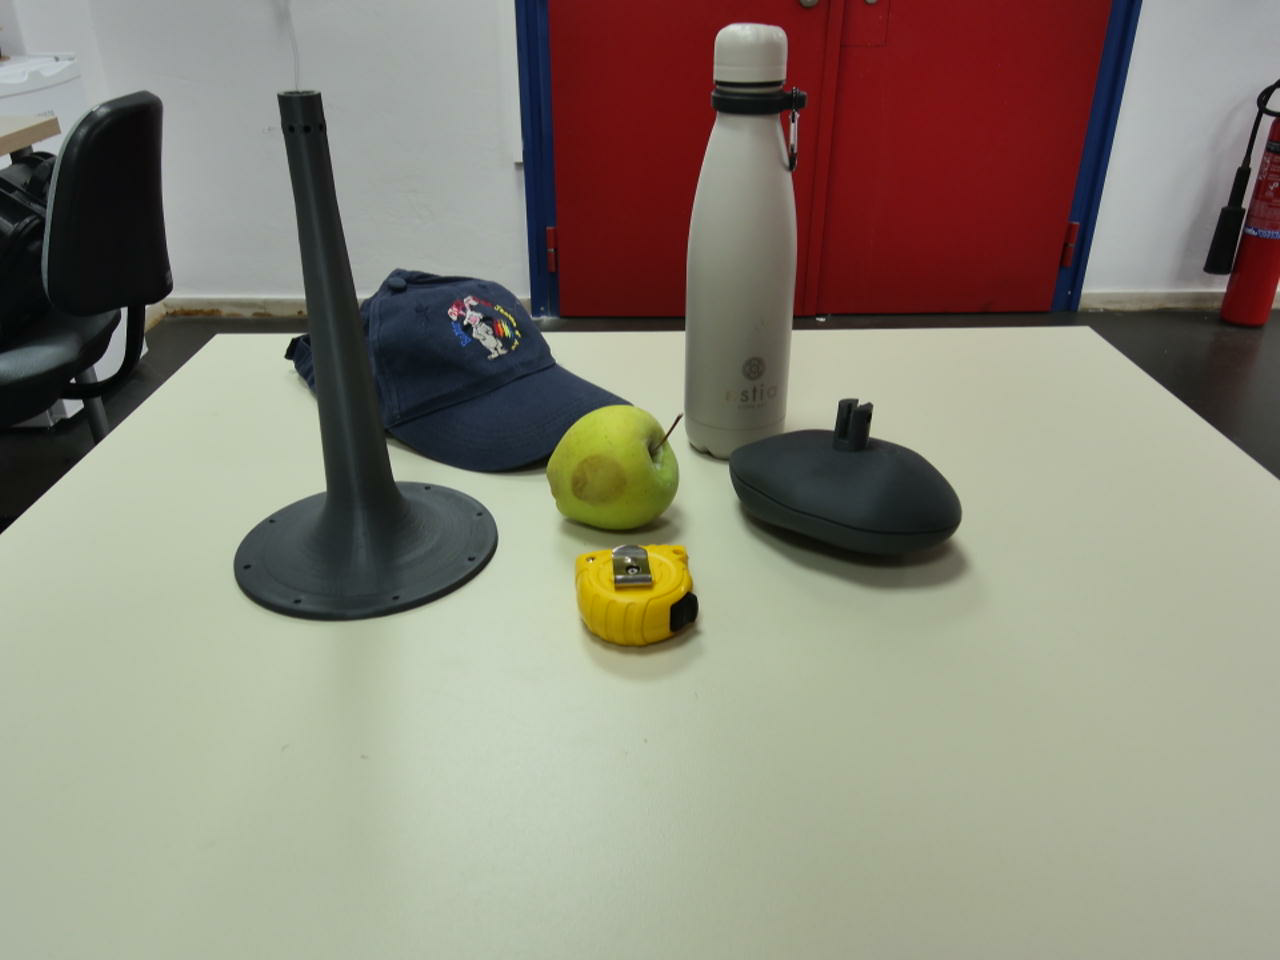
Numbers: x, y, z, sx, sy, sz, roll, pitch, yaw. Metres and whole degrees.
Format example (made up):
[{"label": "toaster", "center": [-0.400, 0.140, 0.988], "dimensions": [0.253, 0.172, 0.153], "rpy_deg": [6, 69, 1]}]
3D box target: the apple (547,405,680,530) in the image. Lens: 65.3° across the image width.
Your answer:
[{"label": "apple", "center": [-0.015, -0.009, 0.604], "dimensions": [0.077, 0.075, 0.072], "rpy_deg": [23, 34, 38]}]
